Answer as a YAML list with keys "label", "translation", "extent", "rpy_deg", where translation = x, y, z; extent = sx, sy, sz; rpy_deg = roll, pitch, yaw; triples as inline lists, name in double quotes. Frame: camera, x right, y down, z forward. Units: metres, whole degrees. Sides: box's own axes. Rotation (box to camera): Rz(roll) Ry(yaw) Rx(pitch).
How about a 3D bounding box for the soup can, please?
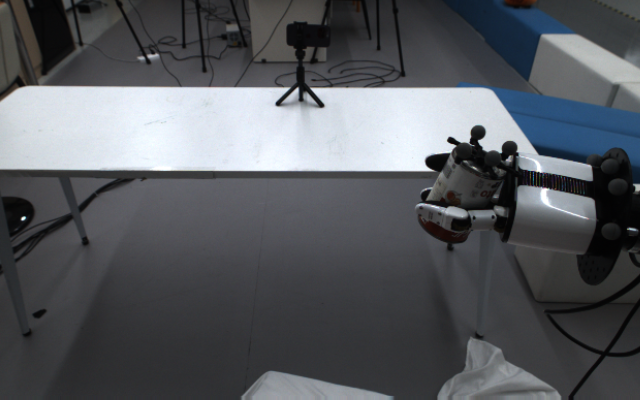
- label: "soup can"
  translation: [0.171, -0.007, 0.583]
  extent: [0.067, 0.101, 0.067]
  rpy_deg: [14, 35, -10]
